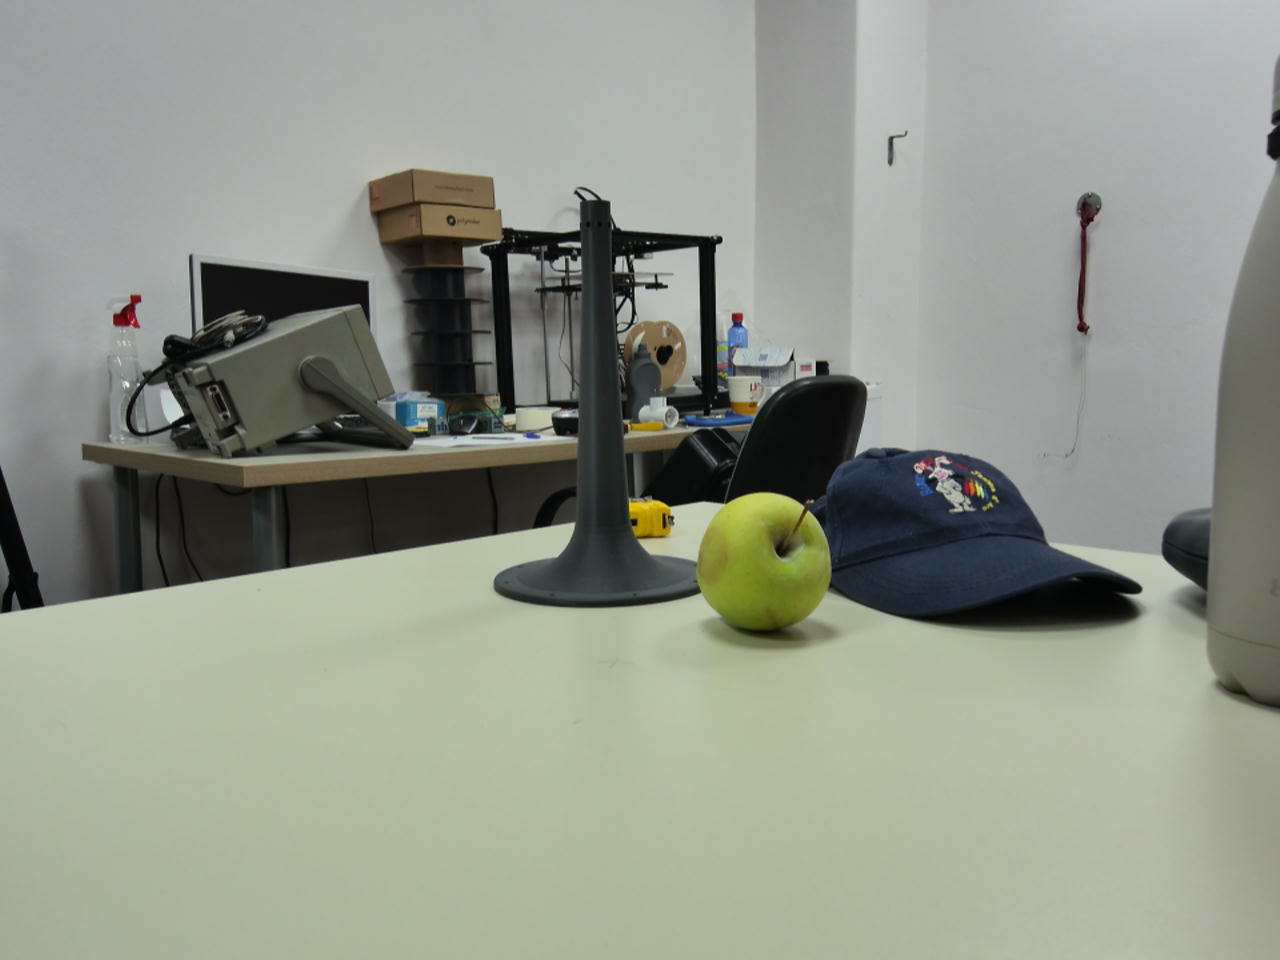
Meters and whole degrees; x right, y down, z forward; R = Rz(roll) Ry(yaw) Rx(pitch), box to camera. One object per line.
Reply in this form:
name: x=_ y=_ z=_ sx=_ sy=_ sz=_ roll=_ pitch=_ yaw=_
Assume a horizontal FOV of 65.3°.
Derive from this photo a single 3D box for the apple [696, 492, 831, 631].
apple: x=0.068 y=0.045 z=0.557 sx=0.072 sy=0.075 sz=0.077 roll=-1 pitch=5 yaw=1
